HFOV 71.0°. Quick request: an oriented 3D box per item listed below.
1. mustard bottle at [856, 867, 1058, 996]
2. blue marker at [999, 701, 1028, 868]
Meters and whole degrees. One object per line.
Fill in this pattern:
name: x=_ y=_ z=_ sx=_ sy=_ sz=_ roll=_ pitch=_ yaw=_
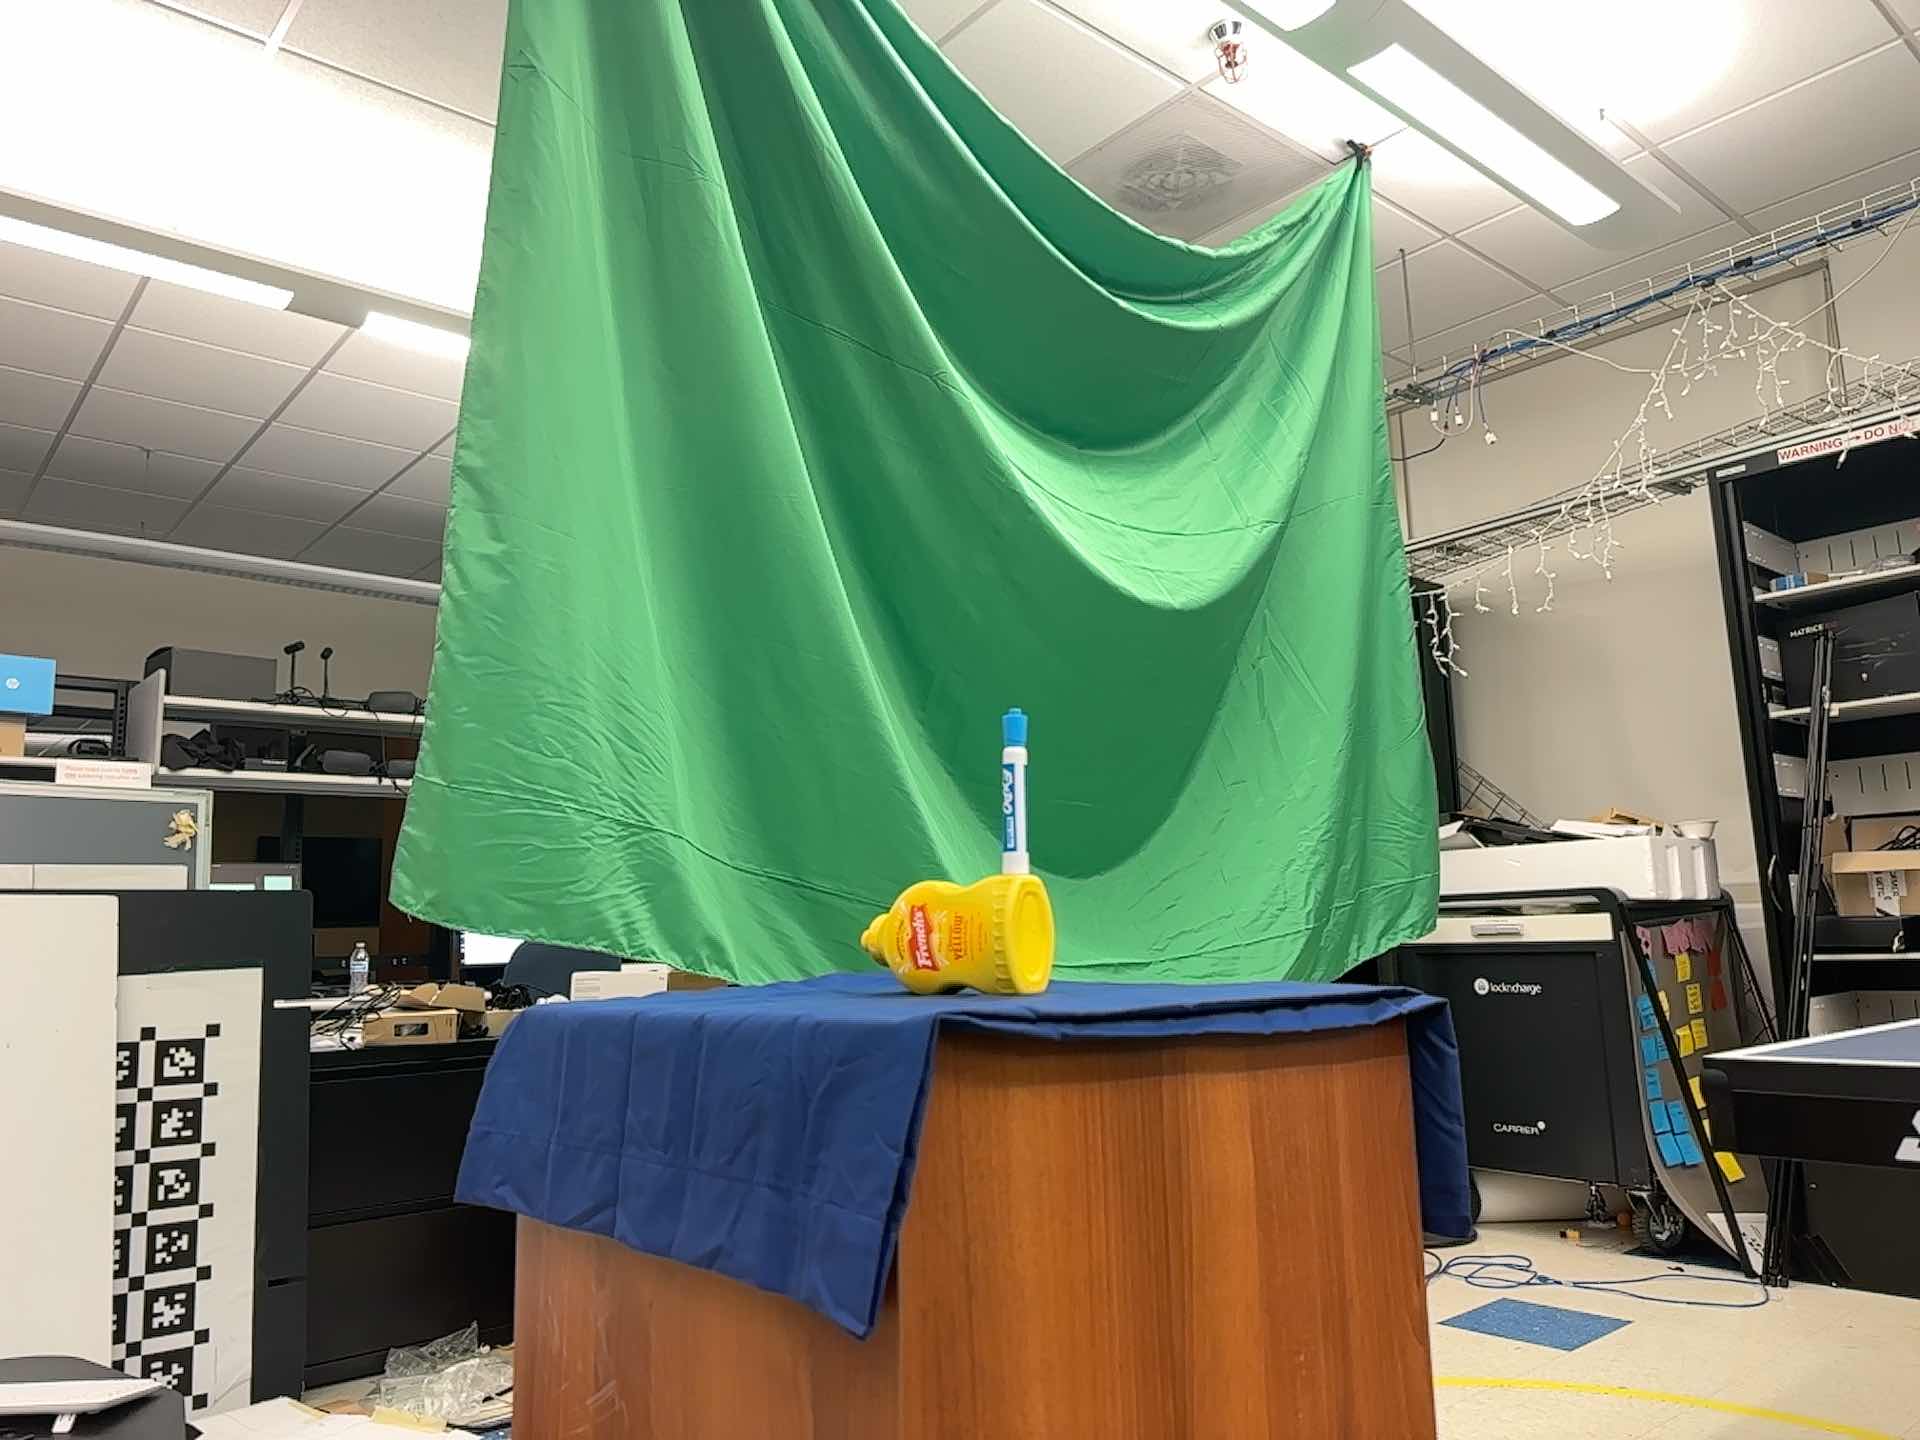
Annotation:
mustard bottle: x=-0.012 y=0.161 z=1.016 sx=0.184 sy=0.092 sz=0.054 roll=-10 pitch=-4 yaw=43
blue marker: x=0.038 y=0.046 z=0.979 sx=0.020 sy=0.121 sz=0.020 roll=-1 pitch=-10 yaw=0
